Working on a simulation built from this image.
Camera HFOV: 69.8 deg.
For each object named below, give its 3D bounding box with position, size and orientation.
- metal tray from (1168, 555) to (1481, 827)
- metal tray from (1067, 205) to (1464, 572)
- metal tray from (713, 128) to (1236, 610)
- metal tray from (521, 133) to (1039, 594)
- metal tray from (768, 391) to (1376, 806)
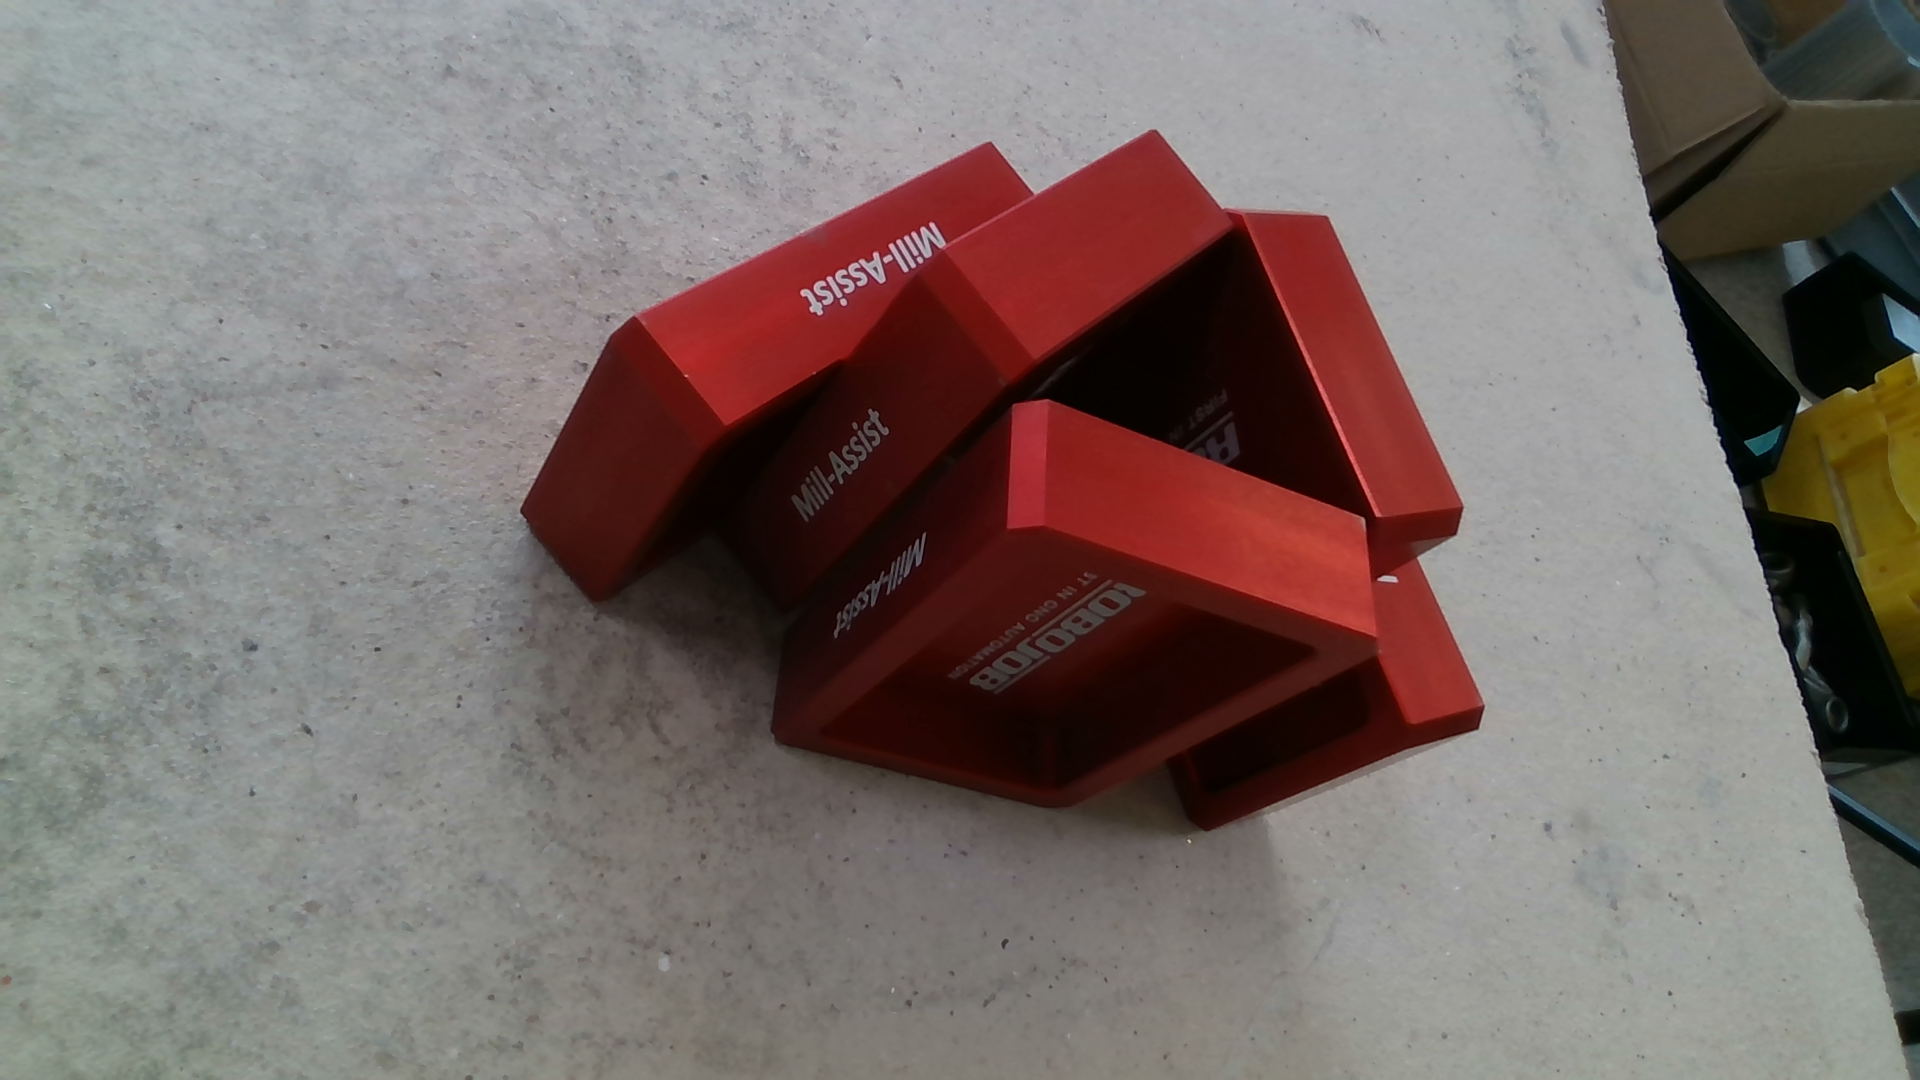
[{"bbox_3d":[0.082,0.007,0.397,0.030,0.090,0.130,-6,69,-34],"label":"metal tray"},{"bbox_3d":[0.061,-0.016,0.371,0.030,0.130,0.090,-7,69,-34],"label":"metal tray"},{"bbox_3d":[0.000,-0.039,0.346,0.030,0.130,0.090,51,51,1],"label":"metal tray"},{"bbox_3d":[-0.041,-0.046,0.349,0.030,0.090,0.130,50,51,2],"label":"metal tray"},{"bbox_3d":[0.020,0.022,0.325,0.090,0.130,0.030,18,57,-22],"label":"metal tray"}]
